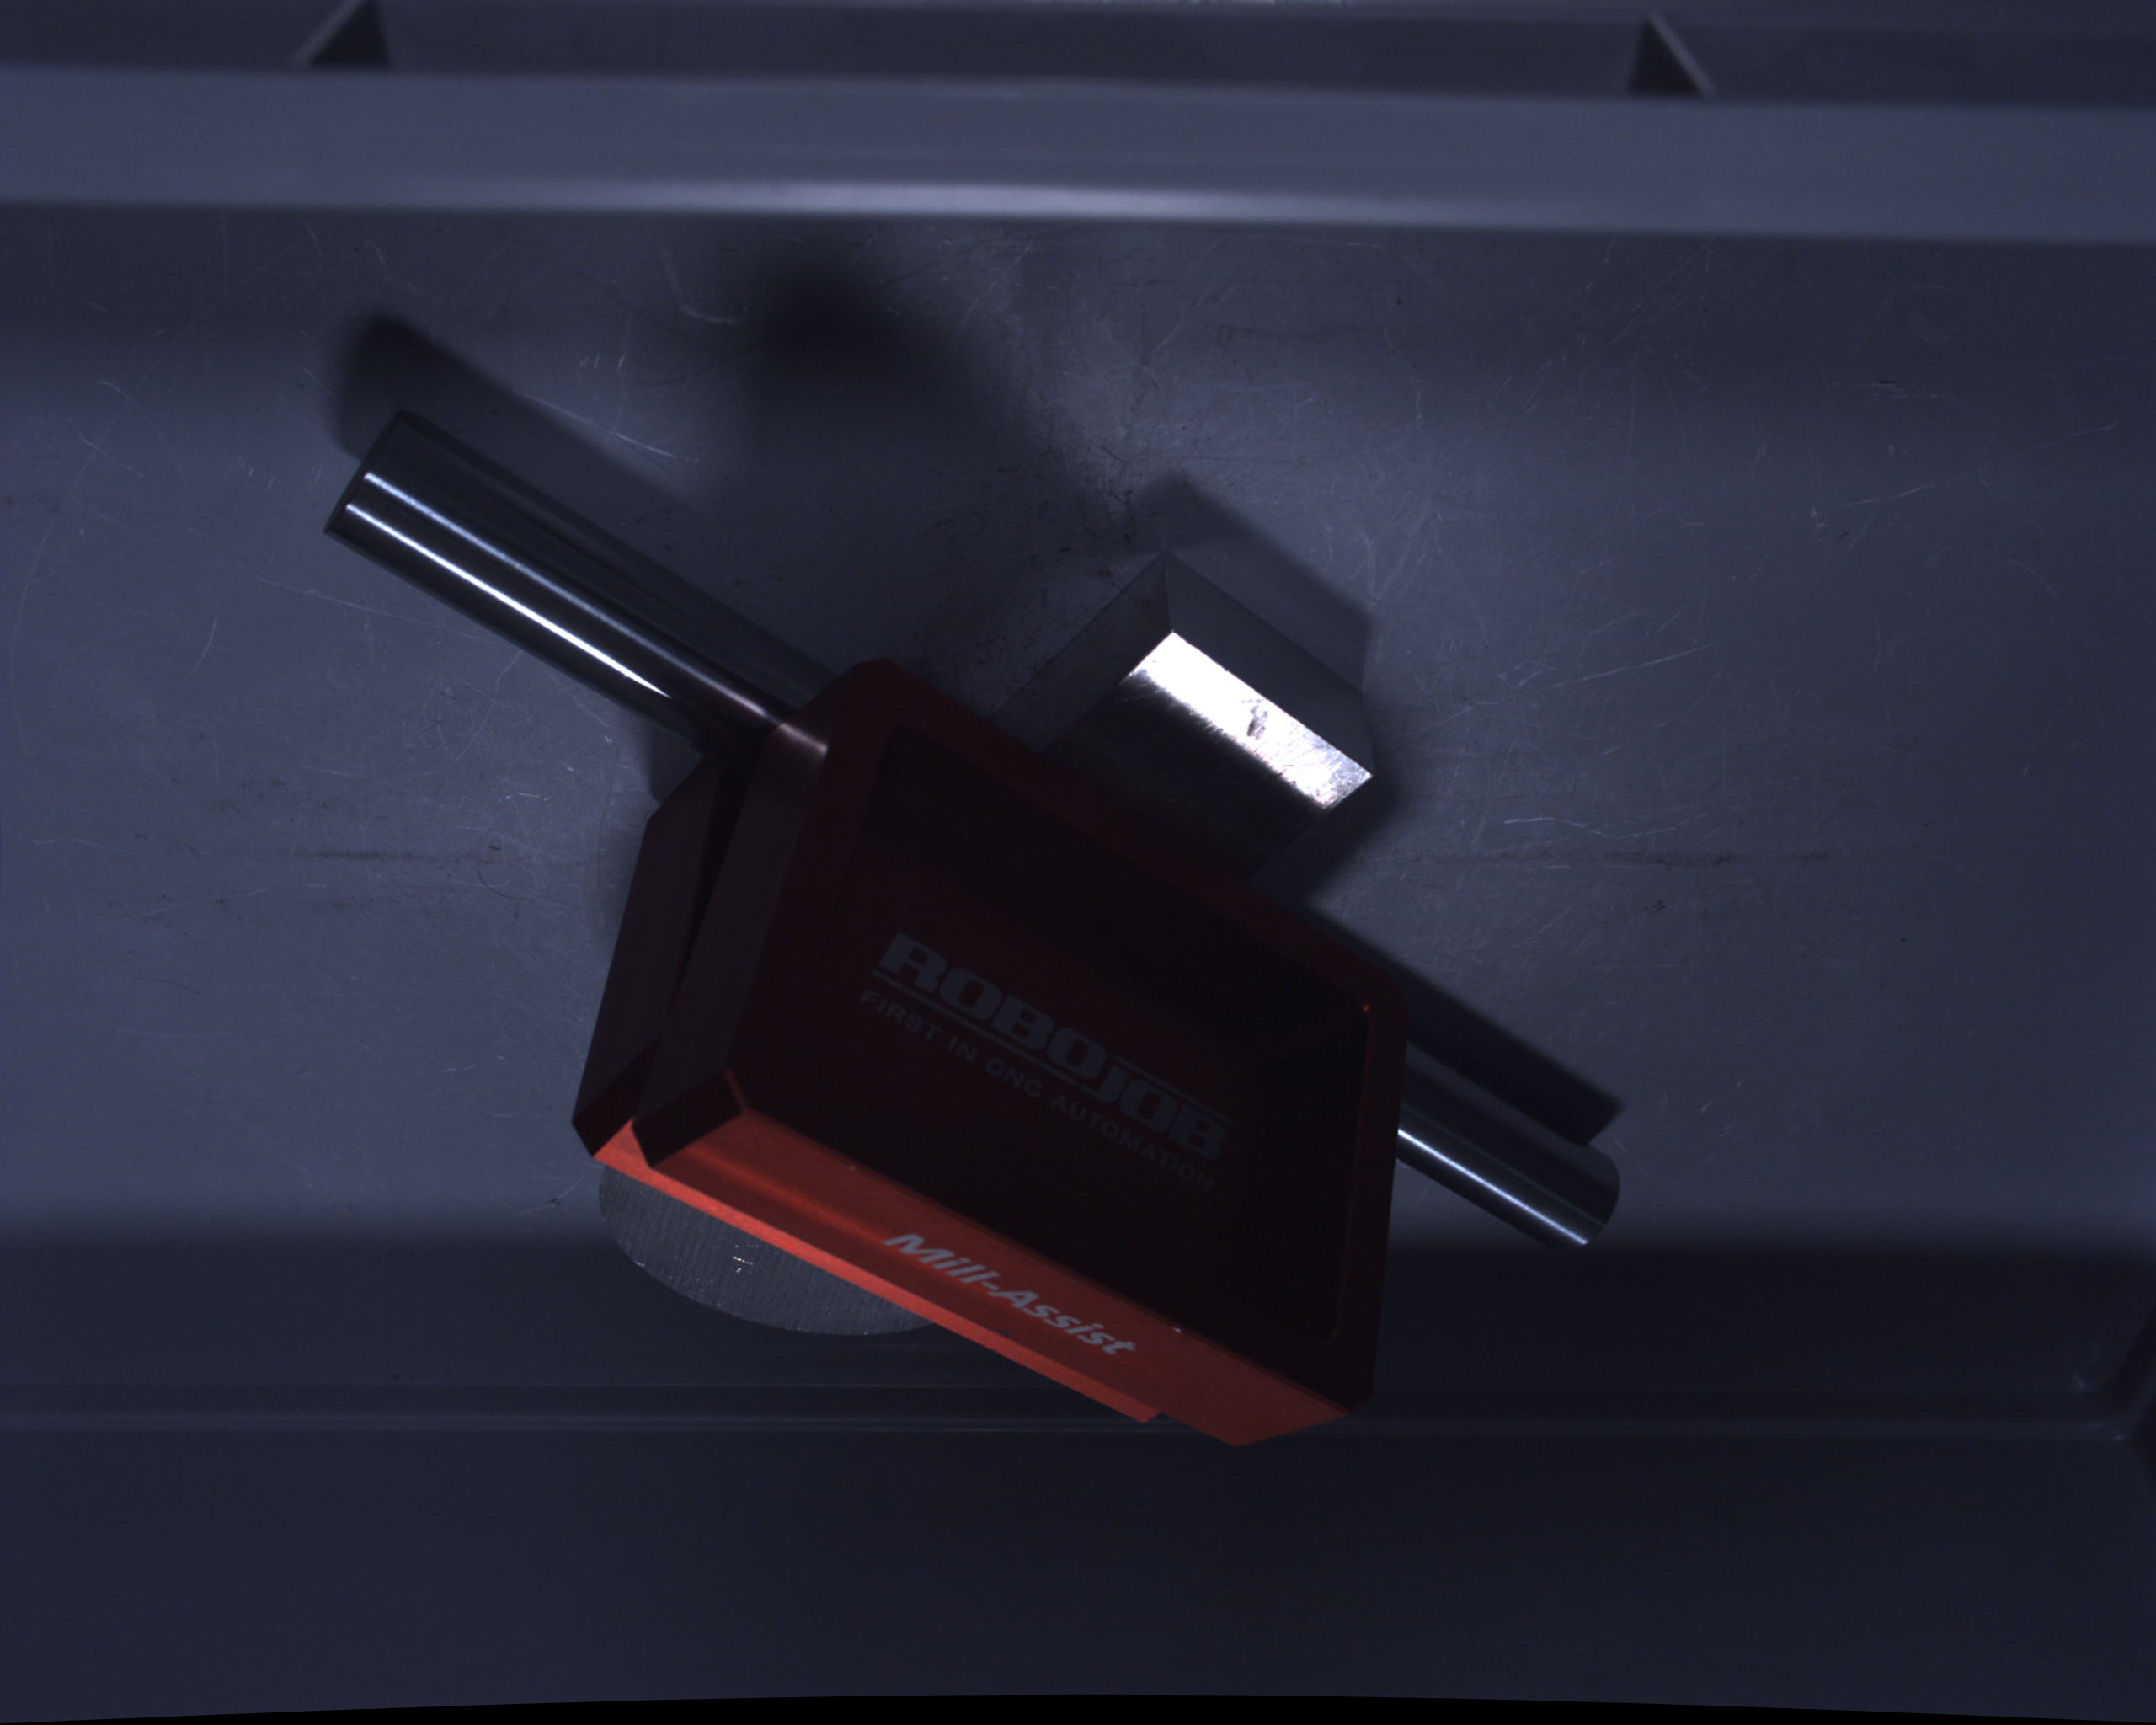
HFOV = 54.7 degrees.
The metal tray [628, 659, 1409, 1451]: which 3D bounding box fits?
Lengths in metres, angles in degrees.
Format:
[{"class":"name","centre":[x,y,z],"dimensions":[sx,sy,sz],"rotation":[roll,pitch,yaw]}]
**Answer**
[{"class":"metal tray","centre":[-0.003,0.035,0.361],"dimensions":[0.131,0.090,0.030],"rotation":[32,140,-25]}]

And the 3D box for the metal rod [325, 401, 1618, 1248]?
[{"class":"metal rod","centre":[-0.003,0.005,0.413],"dimensions":[0.301,0.025,0.025],"rotation":[32,123,-25]}]

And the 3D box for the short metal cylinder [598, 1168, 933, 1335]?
[{"class":"short metal cylinder","centre":[-0.052,0.055,0.429],"dimensions":[0.080,0.050,0.080],"rotation":[4,137,4]}]

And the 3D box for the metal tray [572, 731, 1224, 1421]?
[{"class":"metal tray","centre":[-0.025,0.040,0.399],"dimensions":[0.131,0.090,0.030],"rotation":[32,123,-25]}]

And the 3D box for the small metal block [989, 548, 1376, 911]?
[{"class":"small metal block","centre":[0.018,-0.022,0.389],"dimensions":[0.050,0.025,0.050],"rotation":[33,122,-26]}]
